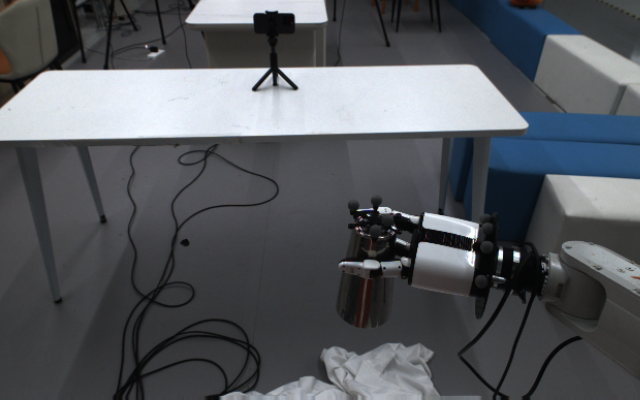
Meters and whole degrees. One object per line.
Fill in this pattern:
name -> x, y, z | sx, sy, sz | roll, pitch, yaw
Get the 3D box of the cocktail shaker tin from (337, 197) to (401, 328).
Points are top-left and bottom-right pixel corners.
cocktail shaker tin -> 0.079, 0.106, 0.766 | 0.093, 0.170, 0.093 | 2, 33, -2
